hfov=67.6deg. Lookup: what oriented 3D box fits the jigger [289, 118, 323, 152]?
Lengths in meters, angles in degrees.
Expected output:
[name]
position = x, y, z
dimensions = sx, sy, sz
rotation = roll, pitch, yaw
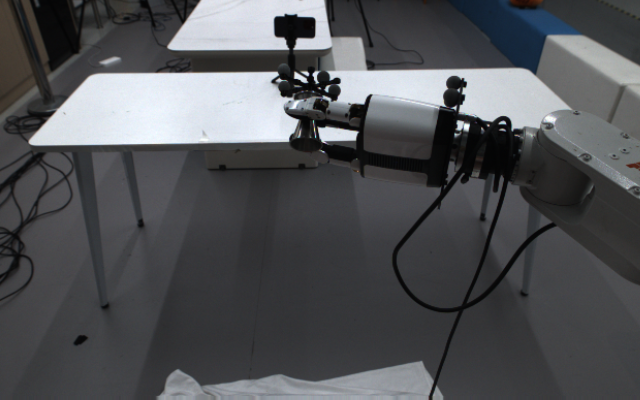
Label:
[jigger]
position = -0.018, -0.103, 0.628
dimensions = 0.043, 0.043, 0.071
rotation = 3, 72, 1
